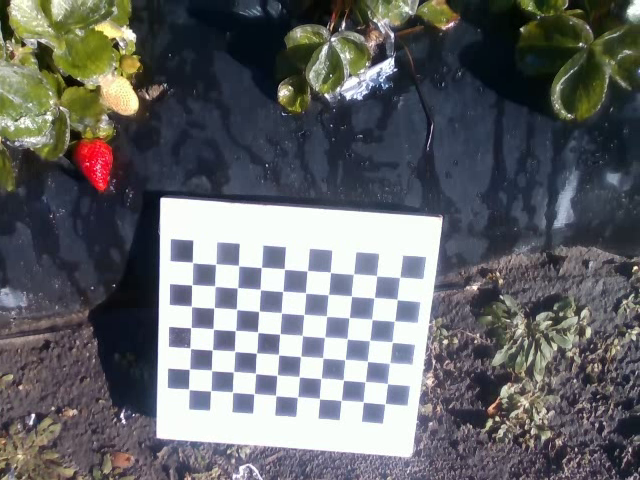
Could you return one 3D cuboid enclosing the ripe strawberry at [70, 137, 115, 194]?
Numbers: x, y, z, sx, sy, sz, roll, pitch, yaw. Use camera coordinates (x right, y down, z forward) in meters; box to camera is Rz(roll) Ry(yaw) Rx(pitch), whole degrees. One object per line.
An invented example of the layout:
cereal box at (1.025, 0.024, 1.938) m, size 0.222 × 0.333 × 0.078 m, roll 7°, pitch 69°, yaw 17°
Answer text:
ripe strawberry at (-0.225, -0.073, 0.597) m, size 0.041 × 0.052 × 0.040 m, roll -13°, pitch 5°, yaw 2°
